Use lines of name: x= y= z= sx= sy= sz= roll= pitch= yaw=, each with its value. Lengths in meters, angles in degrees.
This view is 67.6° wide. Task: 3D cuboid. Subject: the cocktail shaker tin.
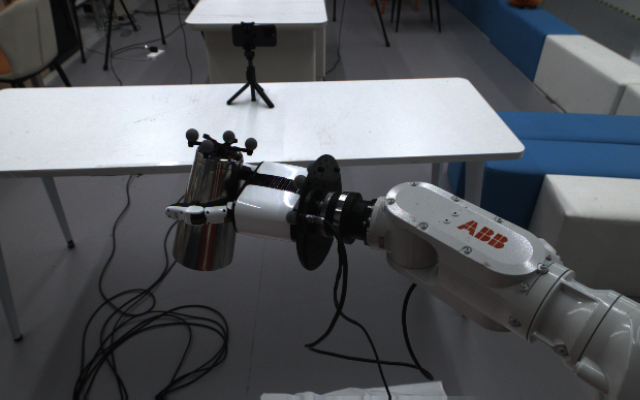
cocktail shaker tin: x=-0.158 y=0.007 z=0.709 sx=0.093 sy=0.170 sz=0.093 roll=12 pitch=24 yaw=-5
